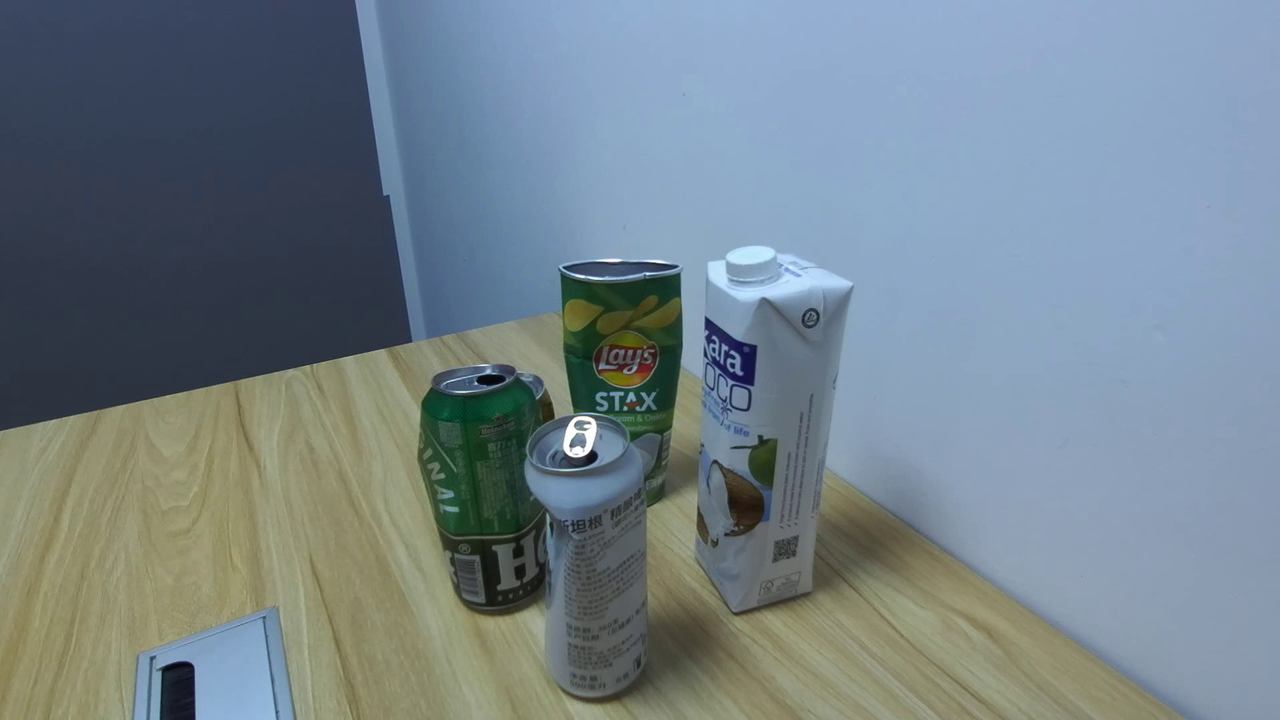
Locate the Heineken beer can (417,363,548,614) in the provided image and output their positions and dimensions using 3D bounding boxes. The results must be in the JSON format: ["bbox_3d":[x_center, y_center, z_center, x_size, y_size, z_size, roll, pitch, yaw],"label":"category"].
[{"bbox_3d":[-0.101,0.087,0.479,0.068,0.168,0.069,13,26,33],"label":"Heineken beer can"}]

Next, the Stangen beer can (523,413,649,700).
[{"bbox_3d":[-0.031,0.115,0.410,0.069,0.173,0.070,10,27,24],"label":"Stangen beer can"}]

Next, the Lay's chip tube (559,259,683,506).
[{"bbox_3d":[-0.012,0.020,0.568,0.075,0.199,0.068,-20,32,-32],"label":"Lay's chip tube"}]

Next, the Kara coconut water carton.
[{"bbox_3d":[0.081,0.046,0.463,0.075,0.245,0.076,-9,27,-19],"label":"Kara coconut water carton"}]
